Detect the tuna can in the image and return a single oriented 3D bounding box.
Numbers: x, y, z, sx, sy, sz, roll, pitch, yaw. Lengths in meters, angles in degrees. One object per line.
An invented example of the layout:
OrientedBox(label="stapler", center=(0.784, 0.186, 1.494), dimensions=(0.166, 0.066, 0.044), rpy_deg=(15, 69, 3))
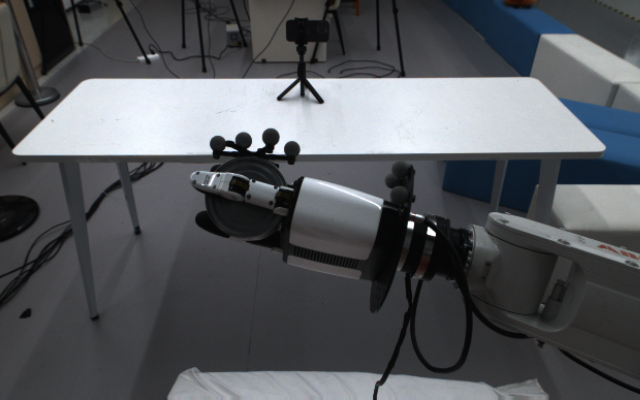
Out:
OrientedBox(label="tuna can", center=(-0.072, -0.001, 0.508), dimensions=(0.085, 0.034, 0.085), rpy_deg=(0, 77, 0))
